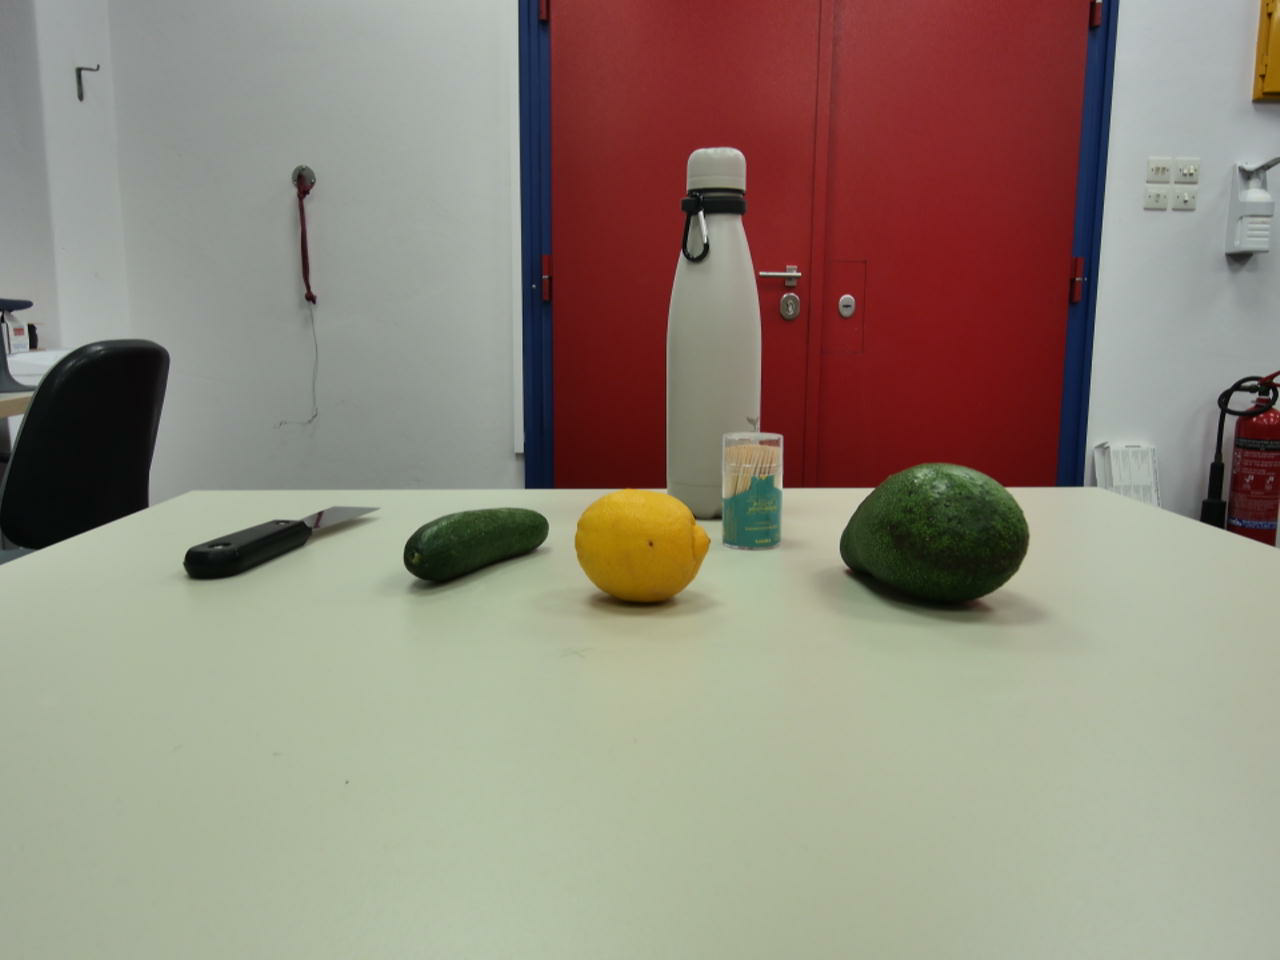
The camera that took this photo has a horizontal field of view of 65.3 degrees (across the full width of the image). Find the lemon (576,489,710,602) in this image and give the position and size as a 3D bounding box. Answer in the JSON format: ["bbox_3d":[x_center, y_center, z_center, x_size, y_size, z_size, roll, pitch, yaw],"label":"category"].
[{"bbox_3d":[0.000,0.035,0.531,0.067,0.059,0.060,7,9,41],"label":"lemon"}]
